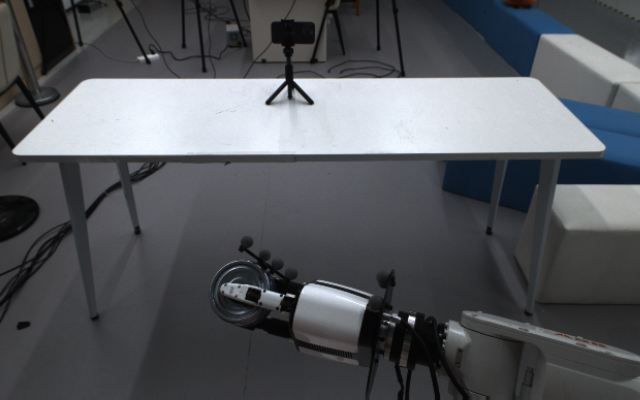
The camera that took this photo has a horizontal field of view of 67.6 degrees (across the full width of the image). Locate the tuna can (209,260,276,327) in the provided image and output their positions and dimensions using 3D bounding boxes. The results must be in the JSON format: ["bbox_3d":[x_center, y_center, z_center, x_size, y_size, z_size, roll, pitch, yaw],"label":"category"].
[{"bbox_3d":[-0.101,0.124,0.647,0.085,0.034,0.085,-4,69,10],"label":"tuna can"}]
